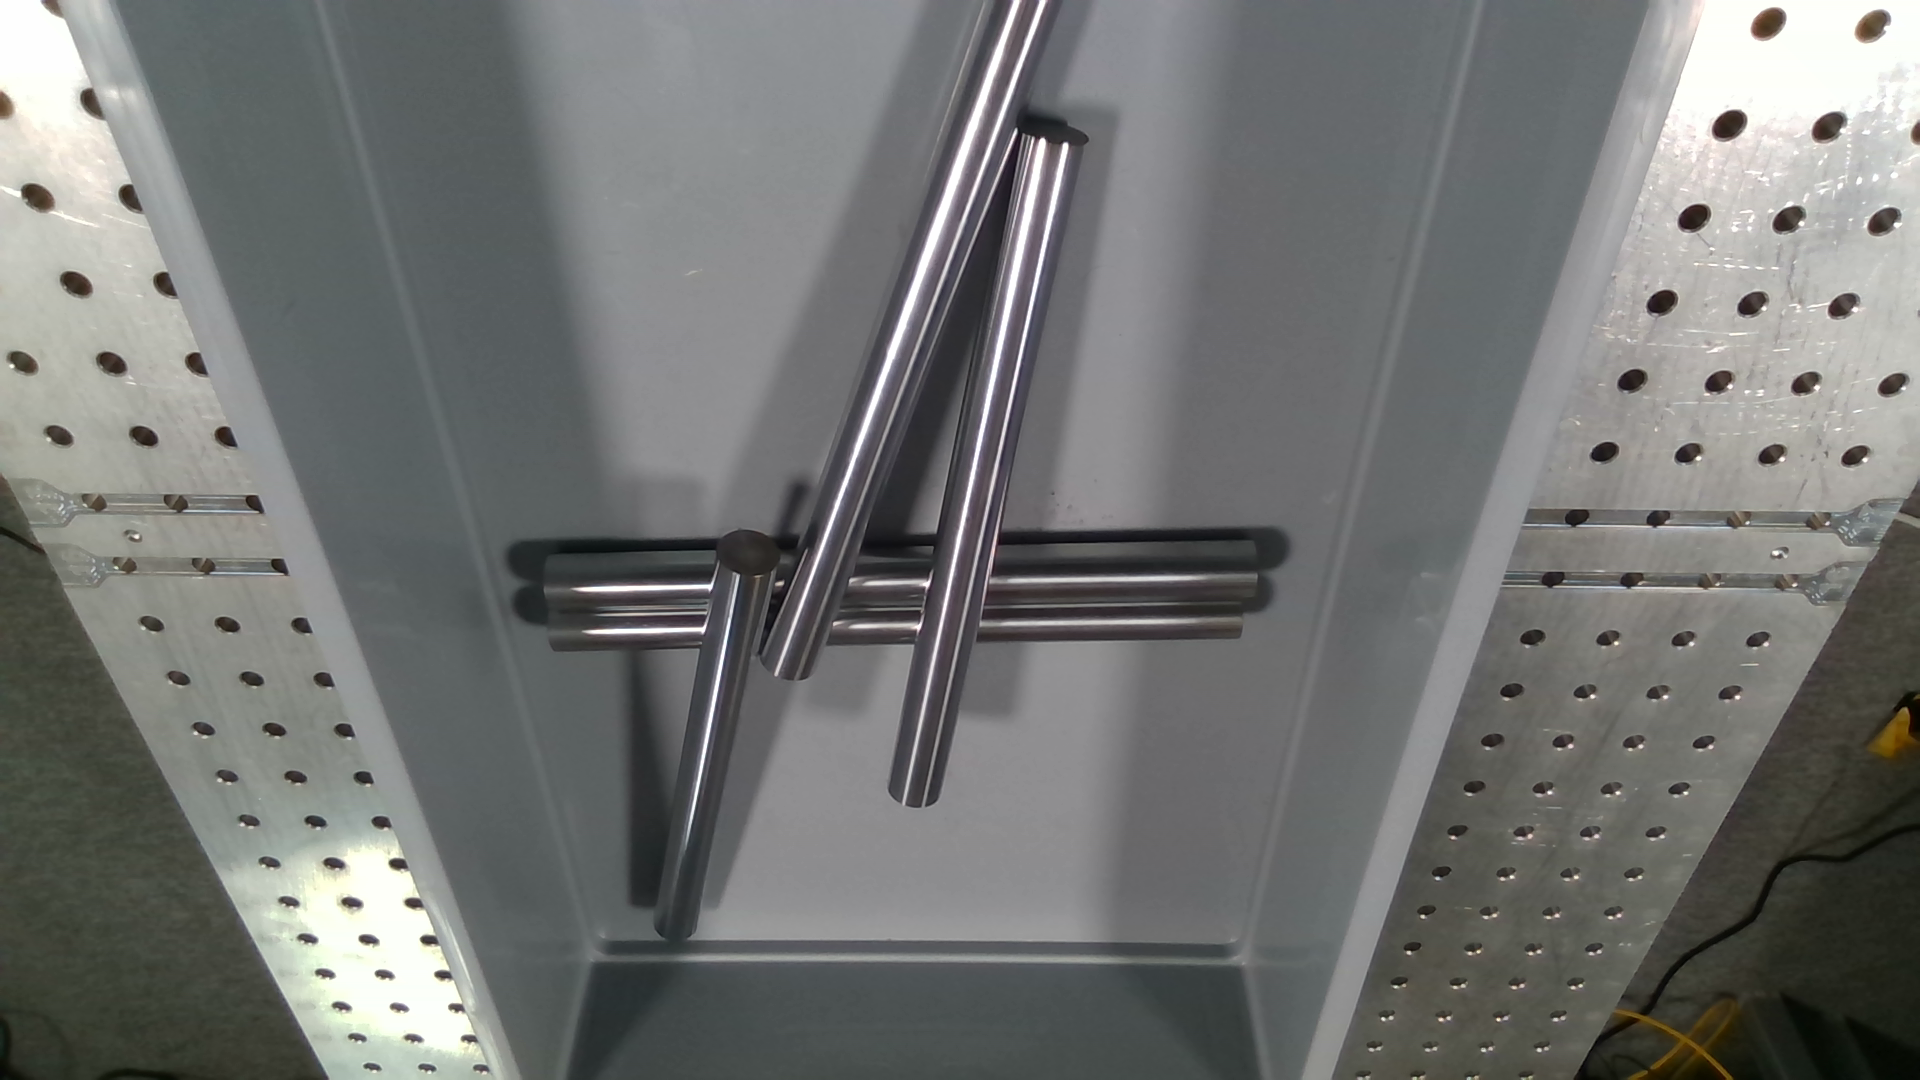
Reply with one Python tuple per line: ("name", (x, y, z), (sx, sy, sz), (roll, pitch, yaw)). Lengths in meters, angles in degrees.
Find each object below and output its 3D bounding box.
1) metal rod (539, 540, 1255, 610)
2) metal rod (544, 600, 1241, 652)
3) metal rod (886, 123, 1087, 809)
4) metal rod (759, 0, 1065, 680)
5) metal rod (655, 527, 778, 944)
("metal rod", (-0.027, 0.015, 0.588), (0.300, 0.025, 0.025), (-1, 130, 1))
("metal rod", (-0.029, 0.035, 0.605), (0.300, 0.025, 0.025), (-1, 130, 1))
("metal rod", (0.005, -0.012, 0.542), (0.025, 0.025, 0.301), (8, 122, -6))
("metal rod", (-0.024, -0.067, 0.505), (0.025, 0.025, 0.301), (15, 123, -12))
("metal rod", (-0.119, 0.106, 0.645), (0.025, 0.025, 0.301), (10, 135, -9))
